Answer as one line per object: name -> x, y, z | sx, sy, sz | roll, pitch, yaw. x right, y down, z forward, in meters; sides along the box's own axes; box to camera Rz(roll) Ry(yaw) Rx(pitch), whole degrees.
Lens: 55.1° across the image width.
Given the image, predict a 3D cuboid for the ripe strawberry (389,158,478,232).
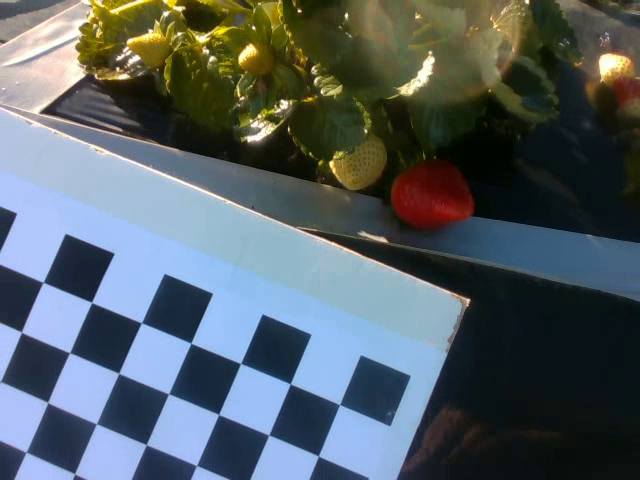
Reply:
ripe strawberry -> 0.062, -0.023, 0.324 | 0.049, 0.045, 0.064 | 46, 0, -25
